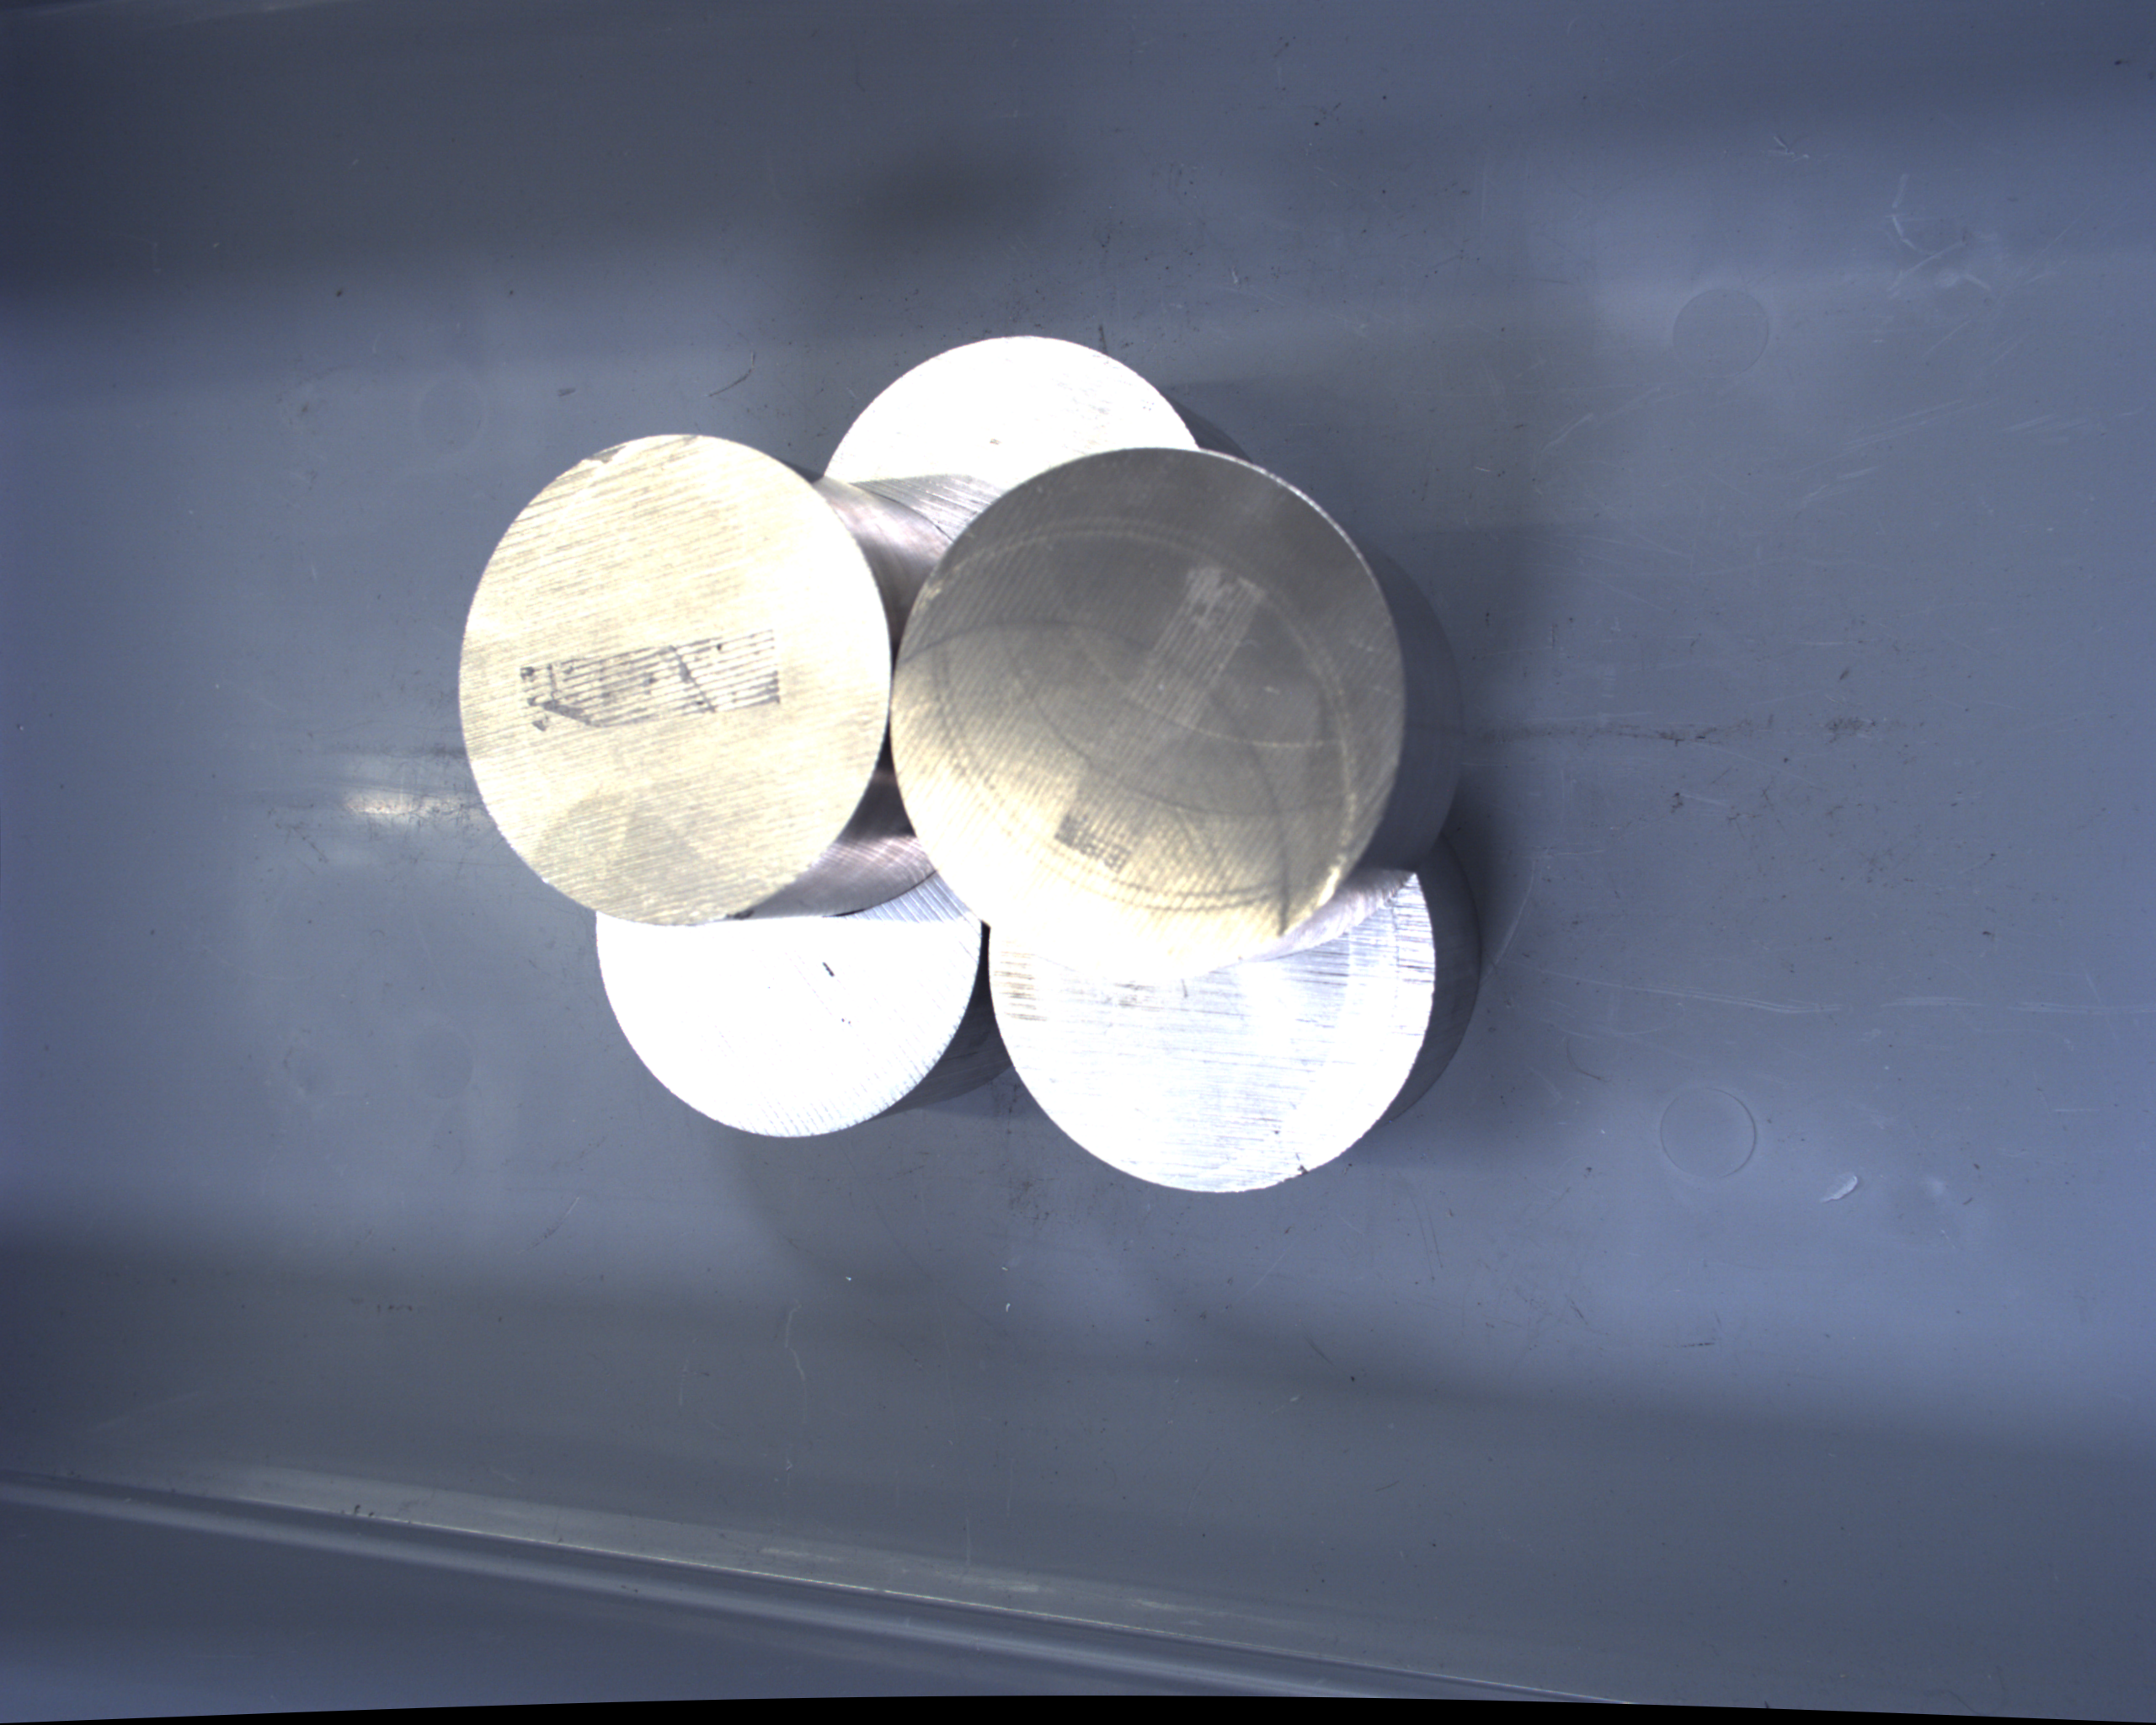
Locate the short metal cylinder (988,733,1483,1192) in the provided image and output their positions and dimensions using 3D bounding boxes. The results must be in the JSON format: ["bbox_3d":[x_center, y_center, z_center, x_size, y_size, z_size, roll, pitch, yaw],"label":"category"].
[{"bbox_3d":[0.030,0.017,0.385,0.080,0.050,0.080,0,90,20],"label":"short metal cylinder"}]

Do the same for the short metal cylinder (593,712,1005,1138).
[{"bbox_3d":[-0.047,0.011,0.412,0.080,0.050,0.080,0,90,20],"label":"short metal cylinder"}]

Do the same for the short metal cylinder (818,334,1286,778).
[{"bbox_3d":[-0.005,-0.055,0.397,0.080,0.050,0.080,0,90,20],"label":"short metal cylinder"}]

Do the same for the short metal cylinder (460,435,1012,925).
[{"bbox_3d":[-0.058,-0.030,0.363,0.080,0.050,0.080,0,90,20],"label":"short metal cylinder"}]

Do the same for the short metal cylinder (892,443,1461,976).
[{"bbox_3d":[0.017,-0.023,0.335,0.080,0.050,0.080,0,90,20],"label":"short metal cylinder"}]
